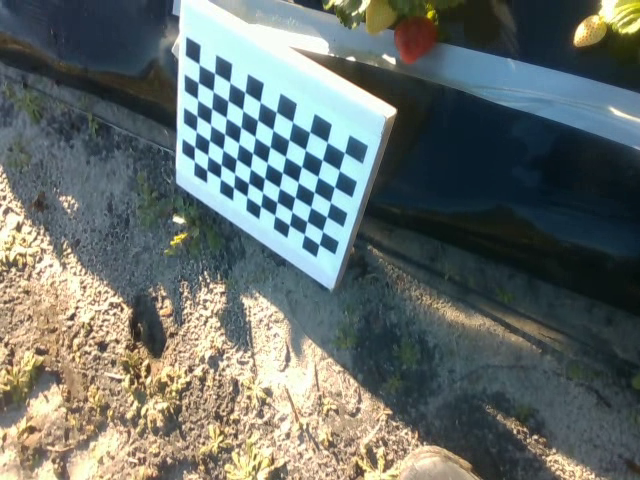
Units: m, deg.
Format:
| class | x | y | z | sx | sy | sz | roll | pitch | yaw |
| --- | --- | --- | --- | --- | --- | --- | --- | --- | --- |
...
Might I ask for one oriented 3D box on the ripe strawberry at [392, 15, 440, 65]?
| class | x | y | z | sx | sy | sz | roll | pitch | yaw |
| --- | --- | --- | --- | --- | --- | --- | --- | --- | --- |
| ripe strawberry | 0.084 | -0.193 | 0.704 | 0.048 | 0.064 | 0.045 | 26 | -33 | -14 |
